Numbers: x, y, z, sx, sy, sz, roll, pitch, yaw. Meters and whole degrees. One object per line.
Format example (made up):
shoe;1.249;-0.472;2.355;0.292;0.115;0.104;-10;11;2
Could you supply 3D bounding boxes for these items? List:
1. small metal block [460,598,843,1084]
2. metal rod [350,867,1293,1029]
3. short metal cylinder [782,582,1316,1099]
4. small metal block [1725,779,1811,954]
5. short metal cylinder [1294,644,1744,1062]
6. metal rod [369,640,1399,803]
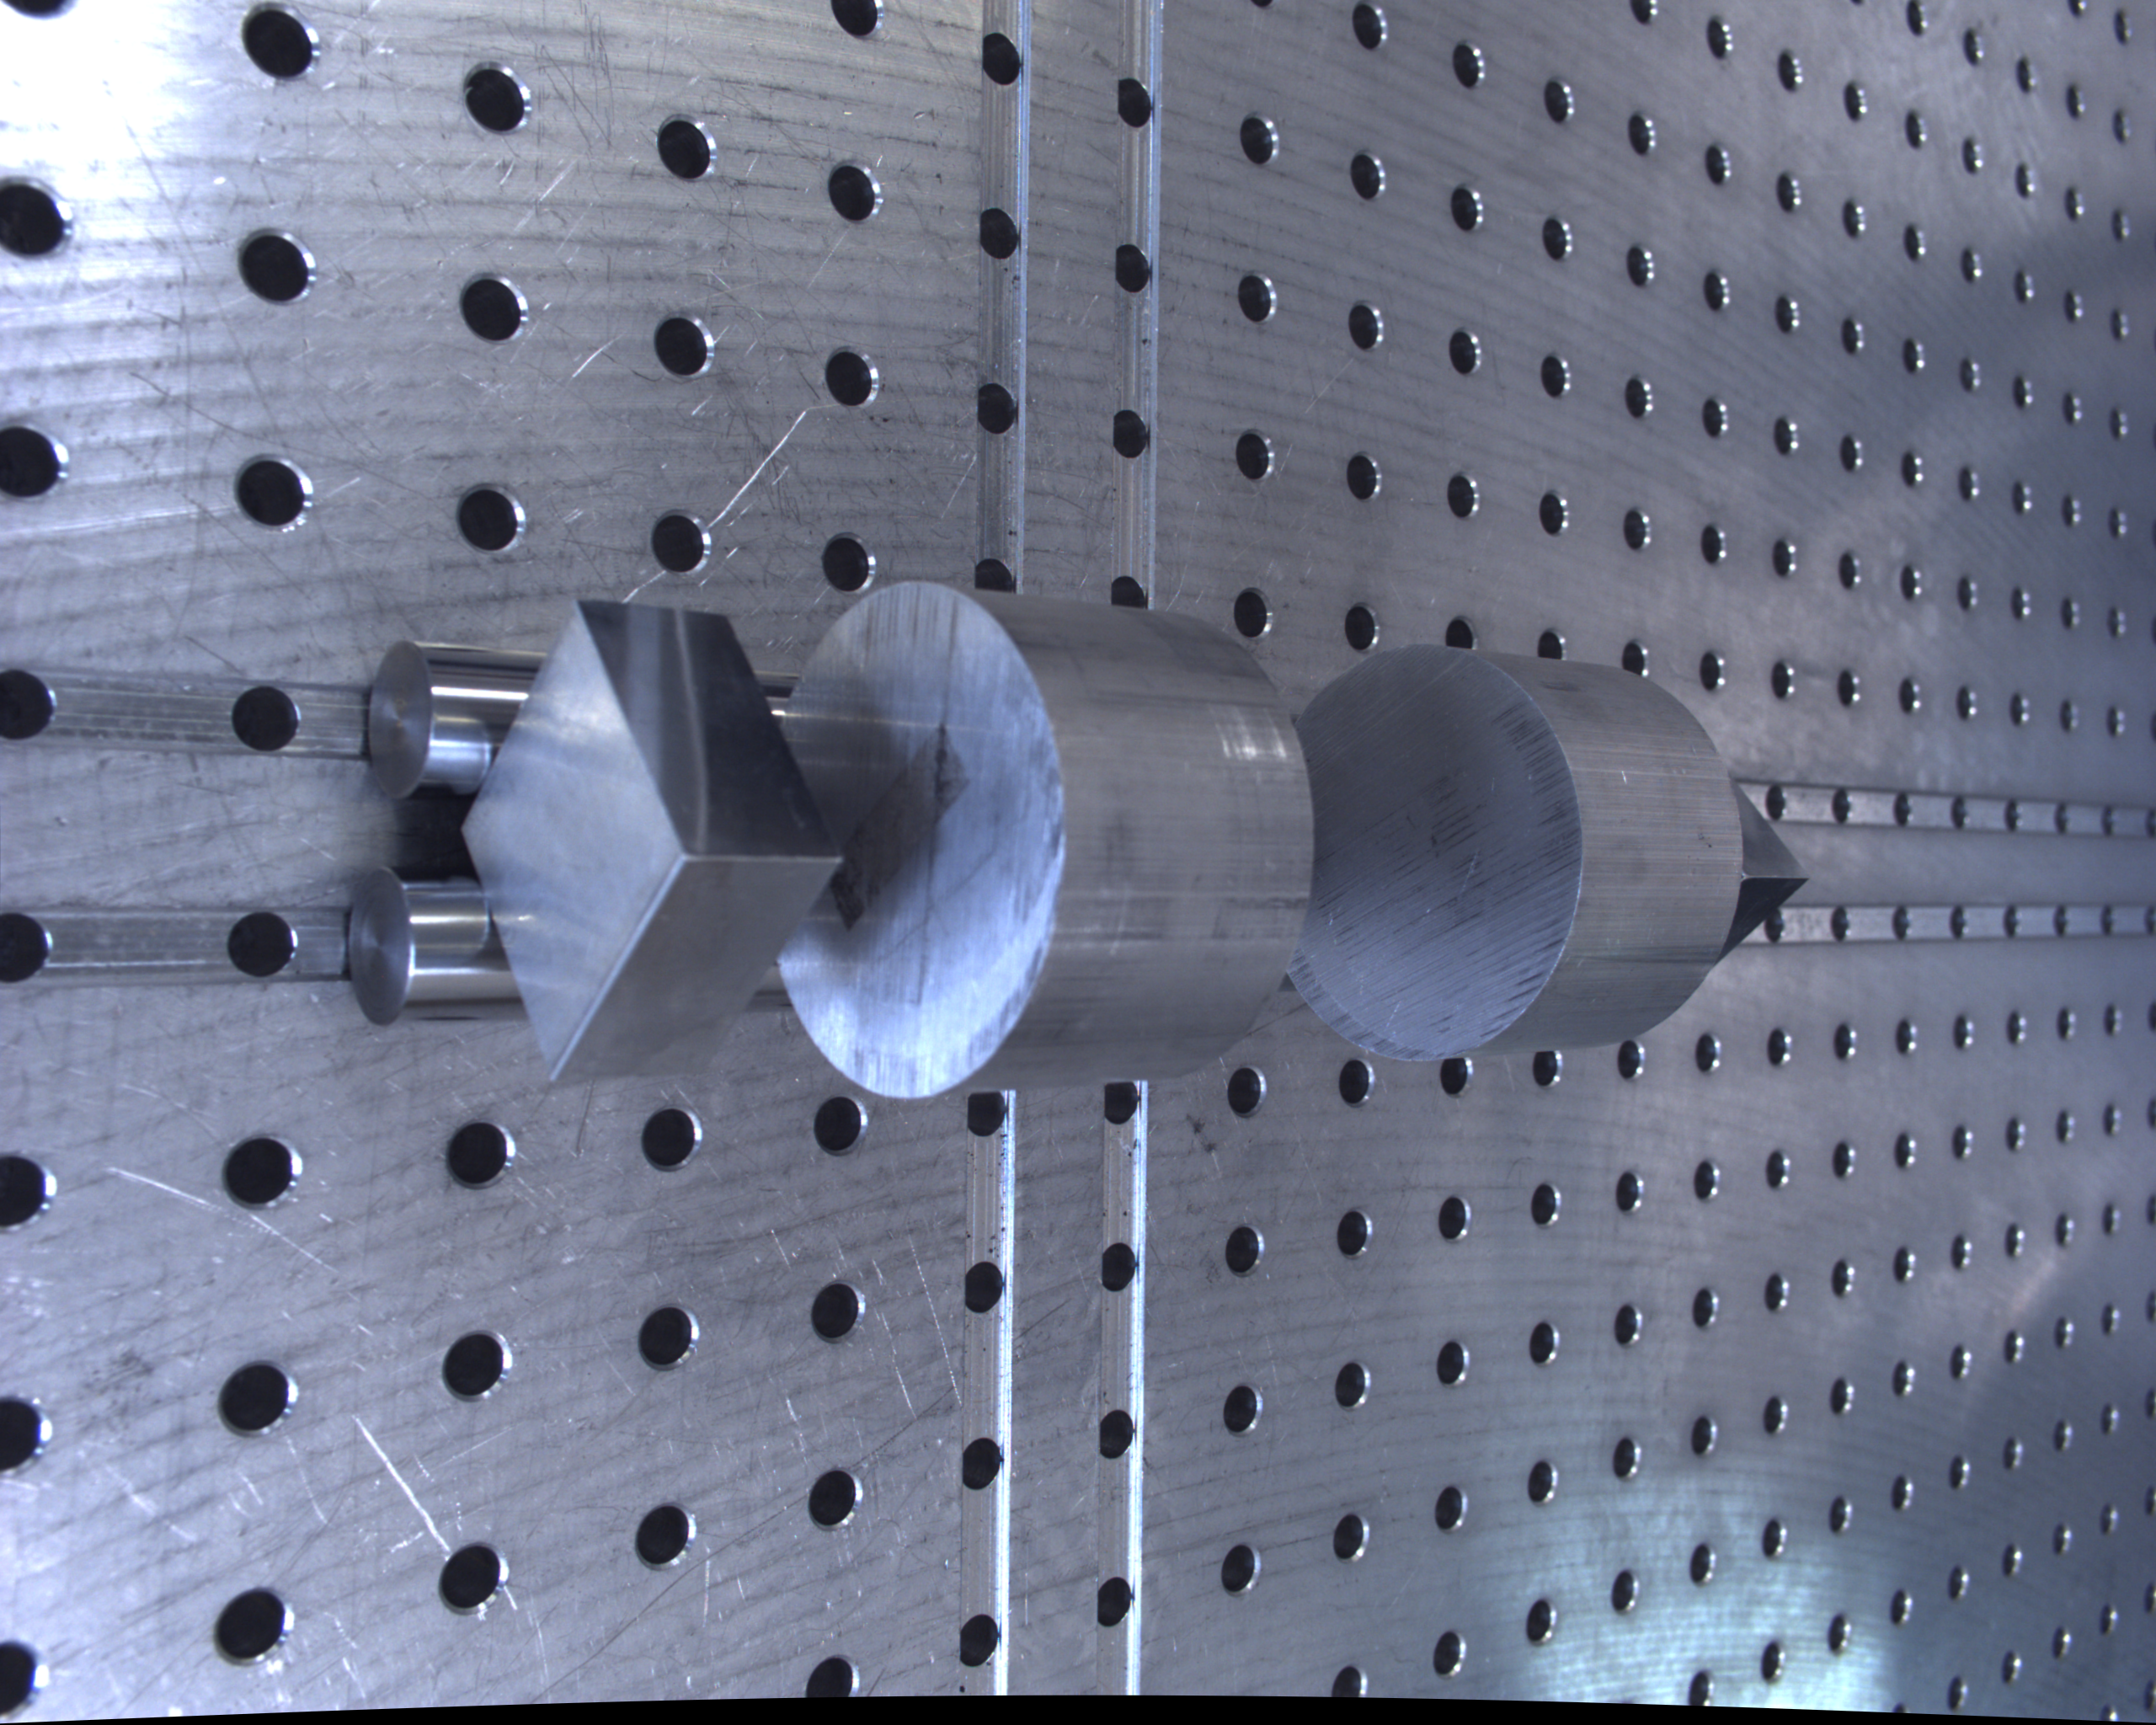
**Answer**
small metal block;-0.065;-0.003;0.309;0.025;0.050;0.050;1;47;-40
metal rod;0.009;0.015;0.417;0.302;0.025;0.025;1;90;-40
short metal cylinder;-0.008;-0.003;0.338;0.050;0.080;0.080;1;90;-40
small metal block;0.126;0.000;0.469;0.025;0.050;0.050;1;49;-40
short metal cylinder;0.083;-0.002;0.414;0.050;0.080;0.080;1;90;-40
metal rod;0.011;-0.020;0.419;0.302;0.025;0.025;1;90;-40
